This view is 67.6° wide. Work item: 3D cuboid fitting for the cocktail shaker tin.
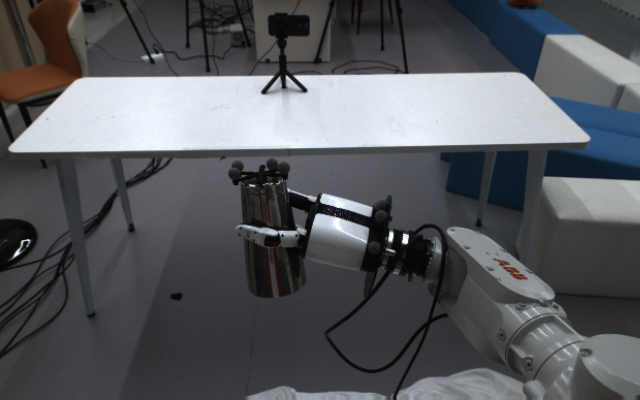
[{"bbox_3d":[-0.075,0.050,0.728,0.093,0.170,0.093,-6,19,2],"label":"cocktail shaker tin"}]
